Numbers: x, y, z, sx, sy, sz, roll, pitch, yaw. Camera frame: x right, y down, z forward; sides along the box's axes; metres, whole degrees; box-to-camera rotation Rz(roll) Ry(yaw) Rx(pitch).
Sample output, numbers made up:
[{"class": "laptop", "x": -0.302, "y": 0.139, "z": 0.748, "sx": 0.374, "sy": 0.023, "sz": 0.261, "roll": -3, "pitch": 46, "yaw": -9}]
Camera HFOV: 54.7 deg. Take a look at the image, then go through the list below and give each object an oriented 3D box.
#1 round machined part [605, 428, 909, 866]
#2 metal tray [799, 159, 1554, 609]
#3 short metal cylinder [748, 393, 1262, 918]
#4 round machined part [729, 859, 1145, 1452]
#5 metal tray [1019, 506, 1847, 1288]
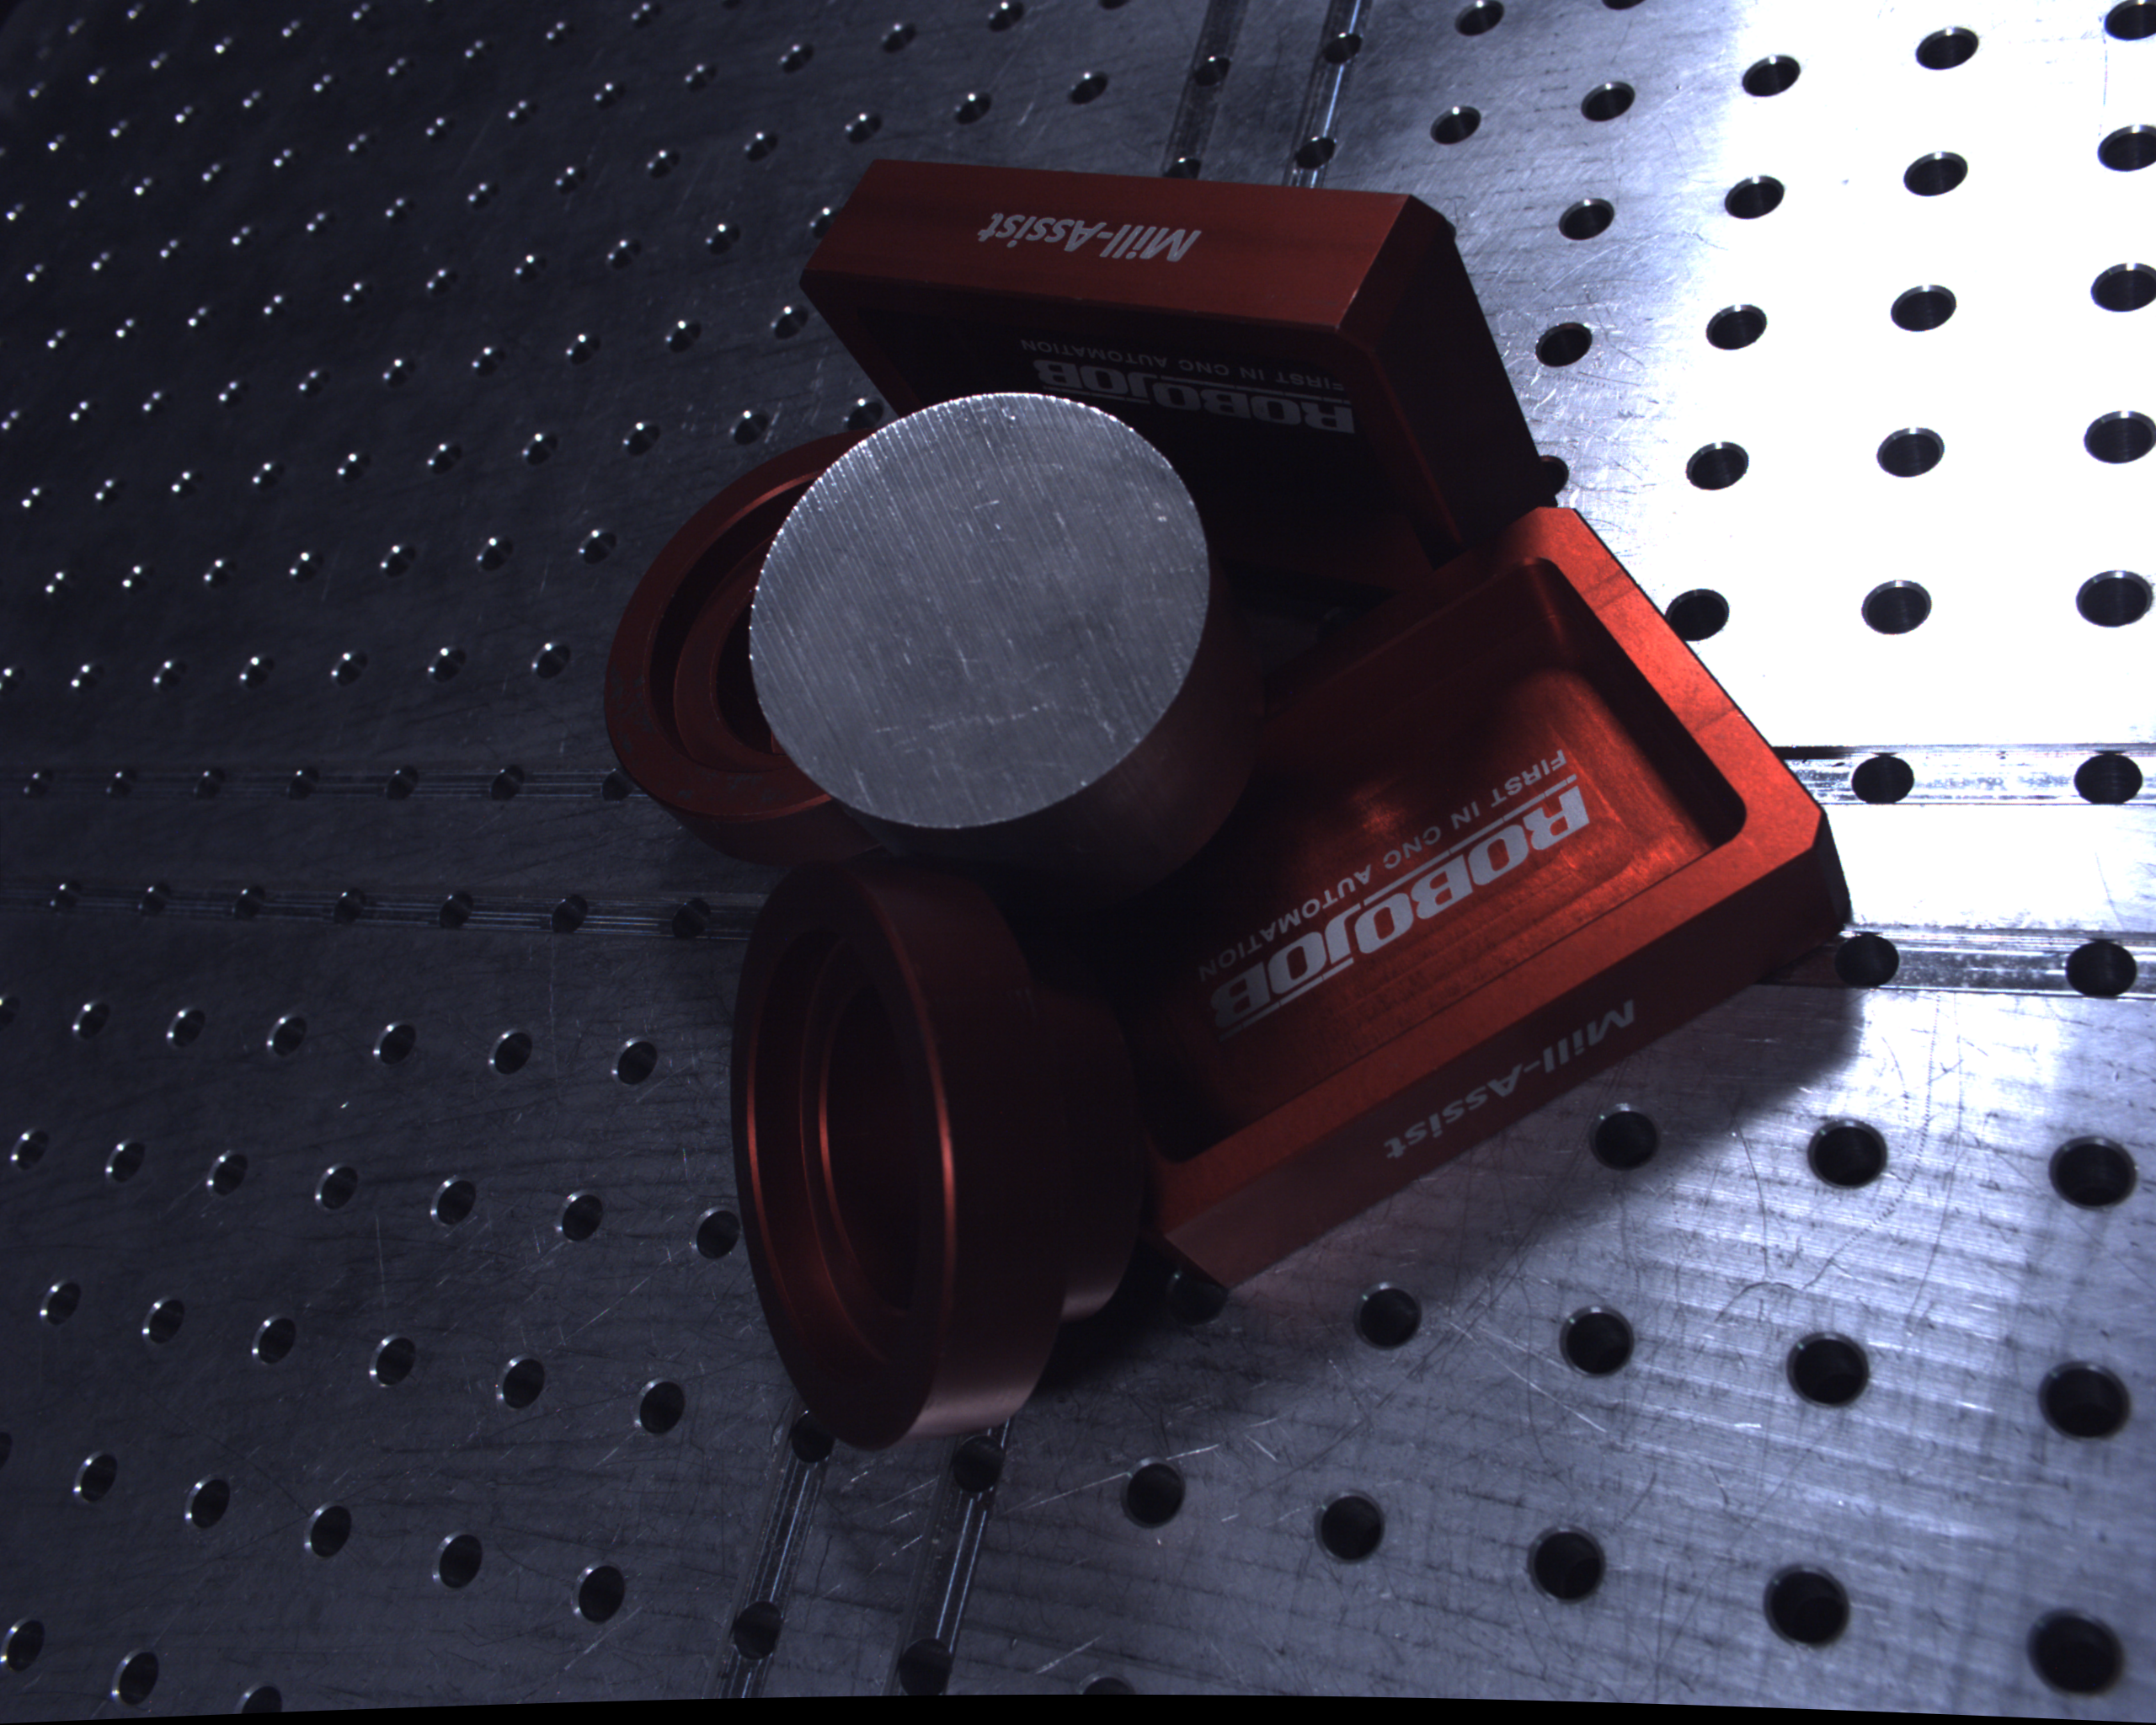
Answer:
[{"class": "round machined part", "x": -0.048, "y": -0.042, "z": 0.447, "sx": 0.098, "sy": 0.042, "sz": 0.098, "roll": -13, "pitch": 56, "yaw": 20}, {"class": "metal tray", "x": 0.020, "y": -0.092, "z": 0.411, "sx": 0.130, "sy": 0.090, "sz": 0.030, "roll": 16, "pitch": 71, "yaw": 34}, {"class": "short metal cylinder", "x": -0.011, "y": -0.036, "z": 0.371, "sx": 0.080, "sy": 0.050, "sz": 0.080, "roll": -5, "pitch": 70, "yaw": 13}, {"class": "round machined part", "x": -0.023, "y": 0.047, "z": 0.357, "sx": 0.098, "sy": 0.042, "sz": 0.097, "roll": 7, "pitch": 98, "yaw": 61}, {"class": "metal tray", "x": 0.055, "y": 0.004, "z": 0.372, "sx": 0.130, "sy": 0.030, "sz": 0.090, "roll": -32, "pitch": 52, "yaw": 7}]
